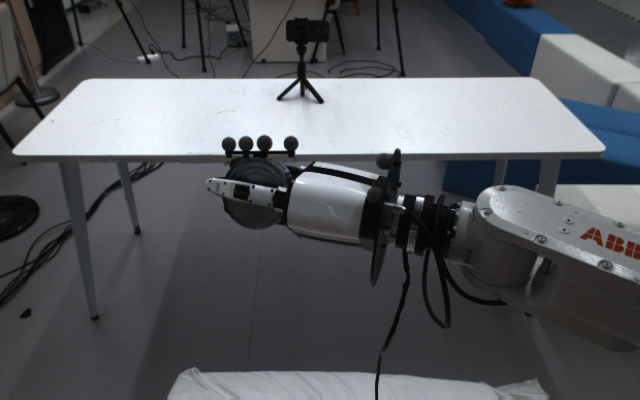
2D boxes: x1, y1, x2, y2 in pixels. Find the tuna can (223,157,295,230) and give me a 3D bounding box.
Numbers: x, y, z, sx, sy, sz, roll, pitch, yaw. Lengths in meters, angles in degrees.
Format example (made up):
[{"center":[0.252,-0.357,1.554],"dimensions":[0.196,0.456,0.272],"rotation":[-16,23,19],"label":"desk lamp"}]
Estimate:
[{"center":[-0.071,-0.009,0.586],"dimensions":[0.085,0.085,0.034],"rotation":[12,8,14],"label":"tuna can"}]
